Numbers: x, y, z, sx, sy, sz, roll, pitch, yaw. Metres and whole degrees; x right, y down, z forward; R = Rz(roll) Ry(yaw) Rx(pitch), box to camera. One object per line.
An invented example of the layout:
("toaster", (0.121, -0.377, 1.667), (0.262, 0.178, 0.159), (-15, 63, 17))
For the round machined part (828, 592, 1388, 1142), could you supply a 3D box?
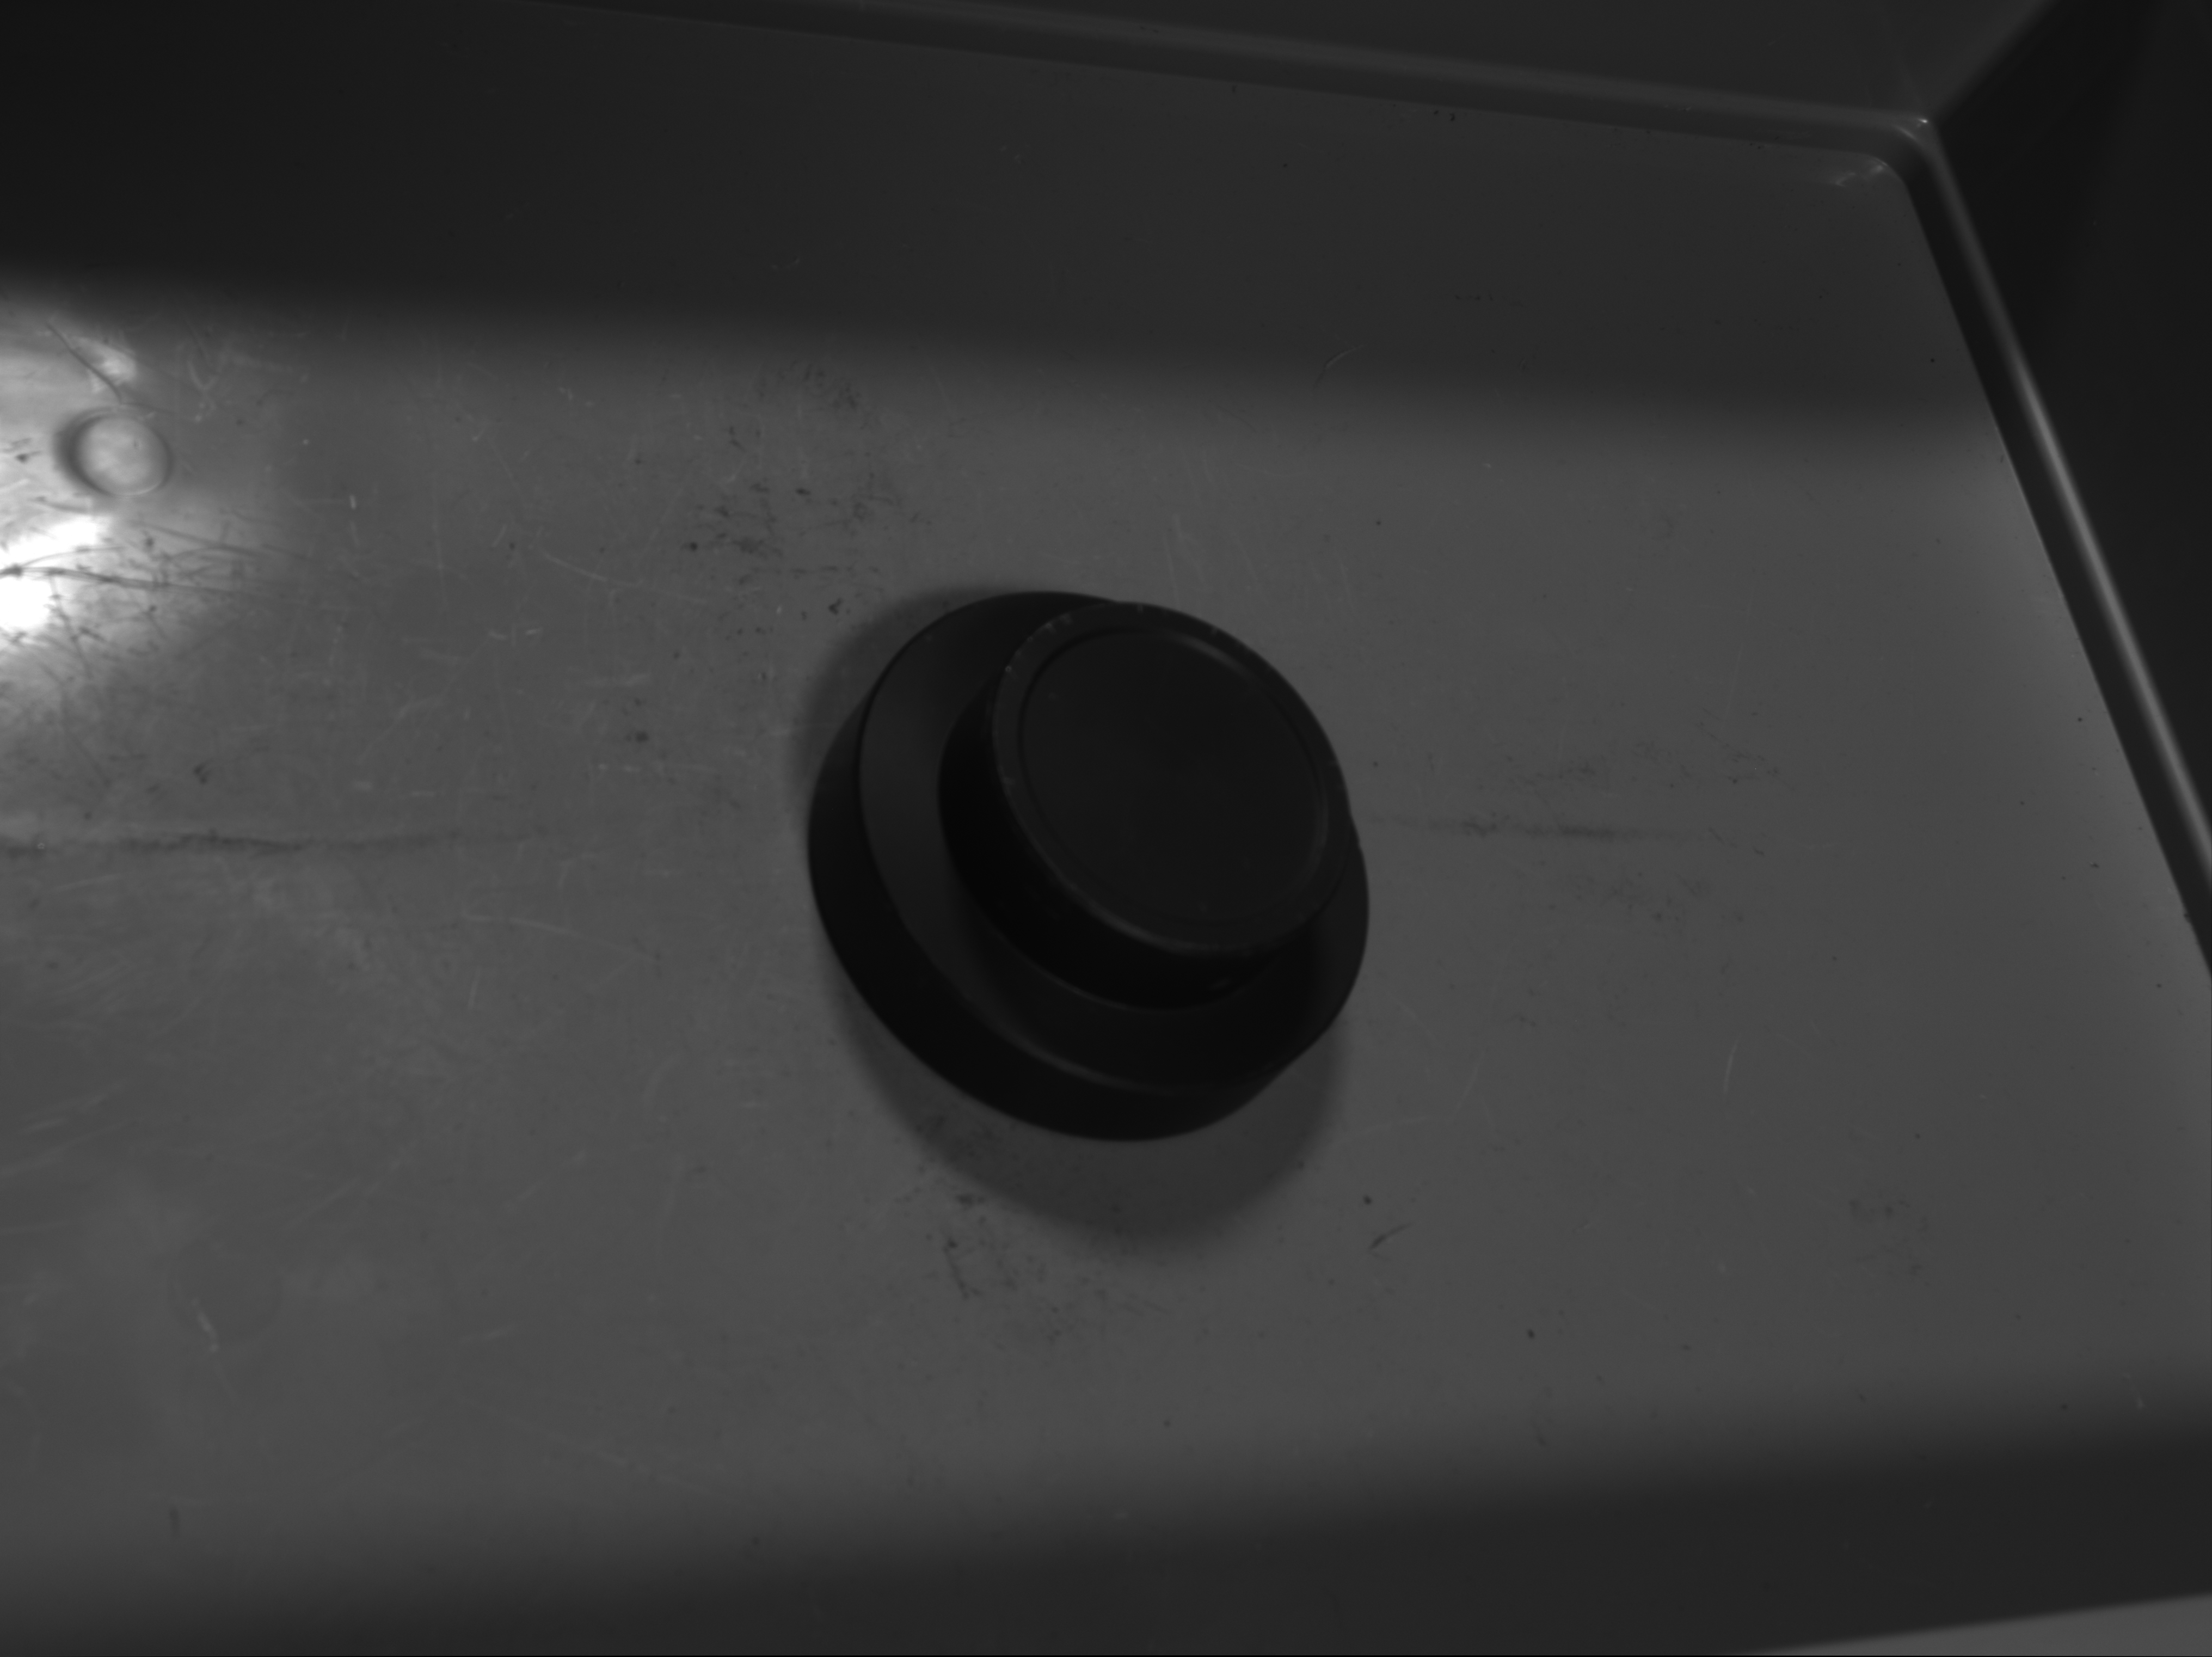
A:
("round machined part", (0.005, 0.001, 0.627), (0.098, 0.042, 0.098), (14, 56, -21))
